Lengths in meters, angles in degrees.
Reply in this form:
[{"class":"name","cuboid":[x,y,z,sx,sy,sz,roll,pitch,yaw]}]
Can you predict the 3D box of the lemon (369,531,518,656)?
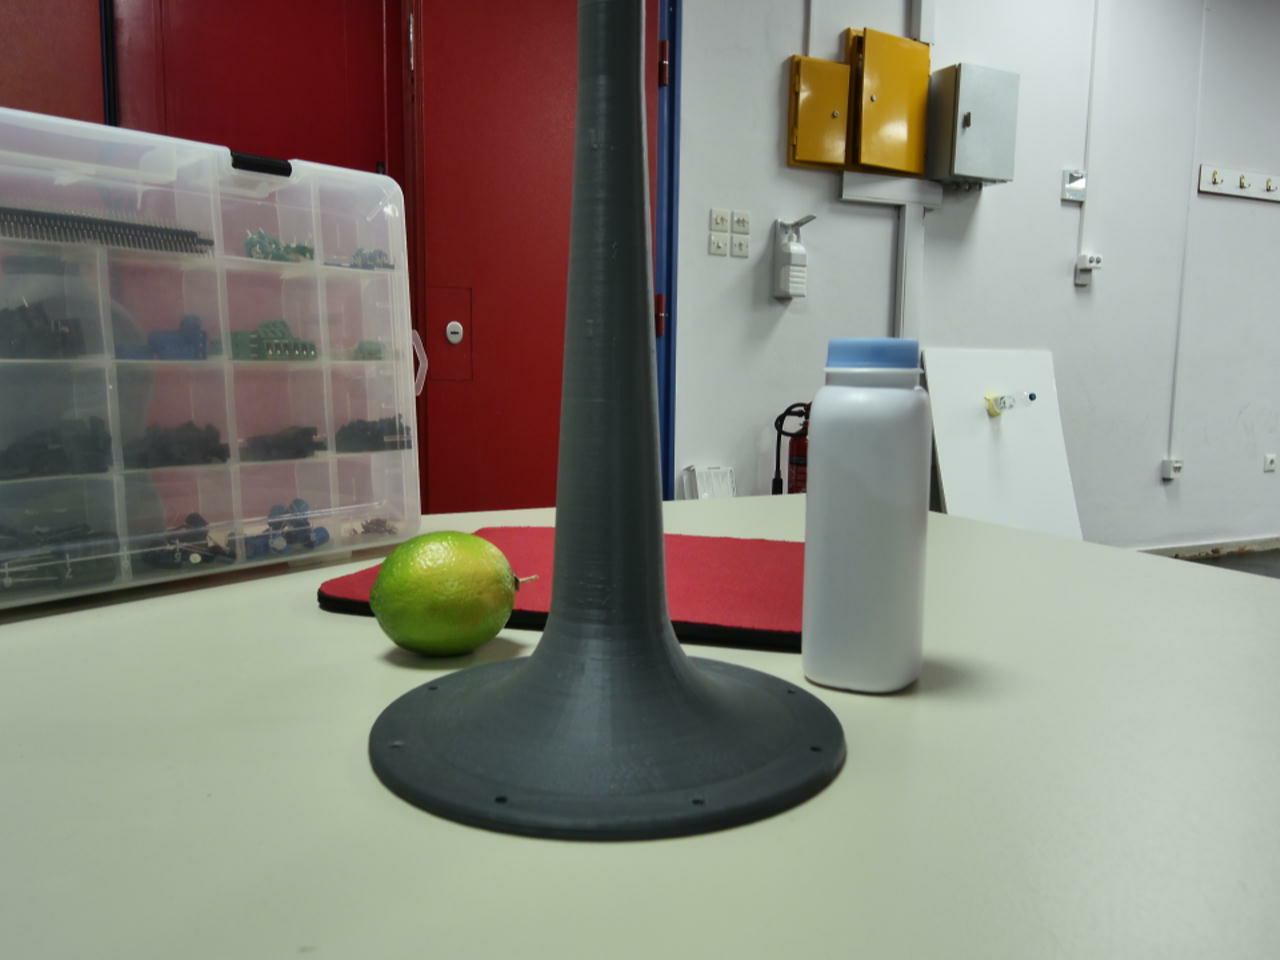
[{"class":"lemon","cuboid":[-0.081,0.047,0.414,0.055,0.050,0.054,1,5,24]}]
